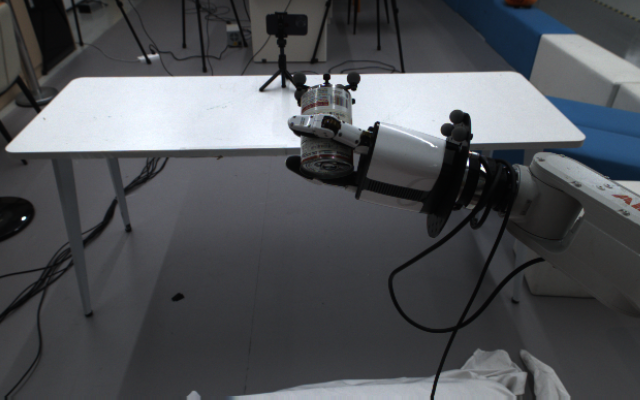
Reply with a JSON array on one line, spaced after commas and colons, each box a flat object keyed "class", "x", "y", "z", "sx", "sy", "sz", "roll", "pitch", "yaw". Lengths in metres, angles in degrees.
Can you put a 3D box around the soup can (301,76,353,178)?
[{"class": "soup can", "x": 0.009, "y": -0.085, "z": 0.611, "sx": 0.067, "sy": 0.067, "sz": 0.101, "roll": 1, "pitch": 73, "yaw": -2}]
